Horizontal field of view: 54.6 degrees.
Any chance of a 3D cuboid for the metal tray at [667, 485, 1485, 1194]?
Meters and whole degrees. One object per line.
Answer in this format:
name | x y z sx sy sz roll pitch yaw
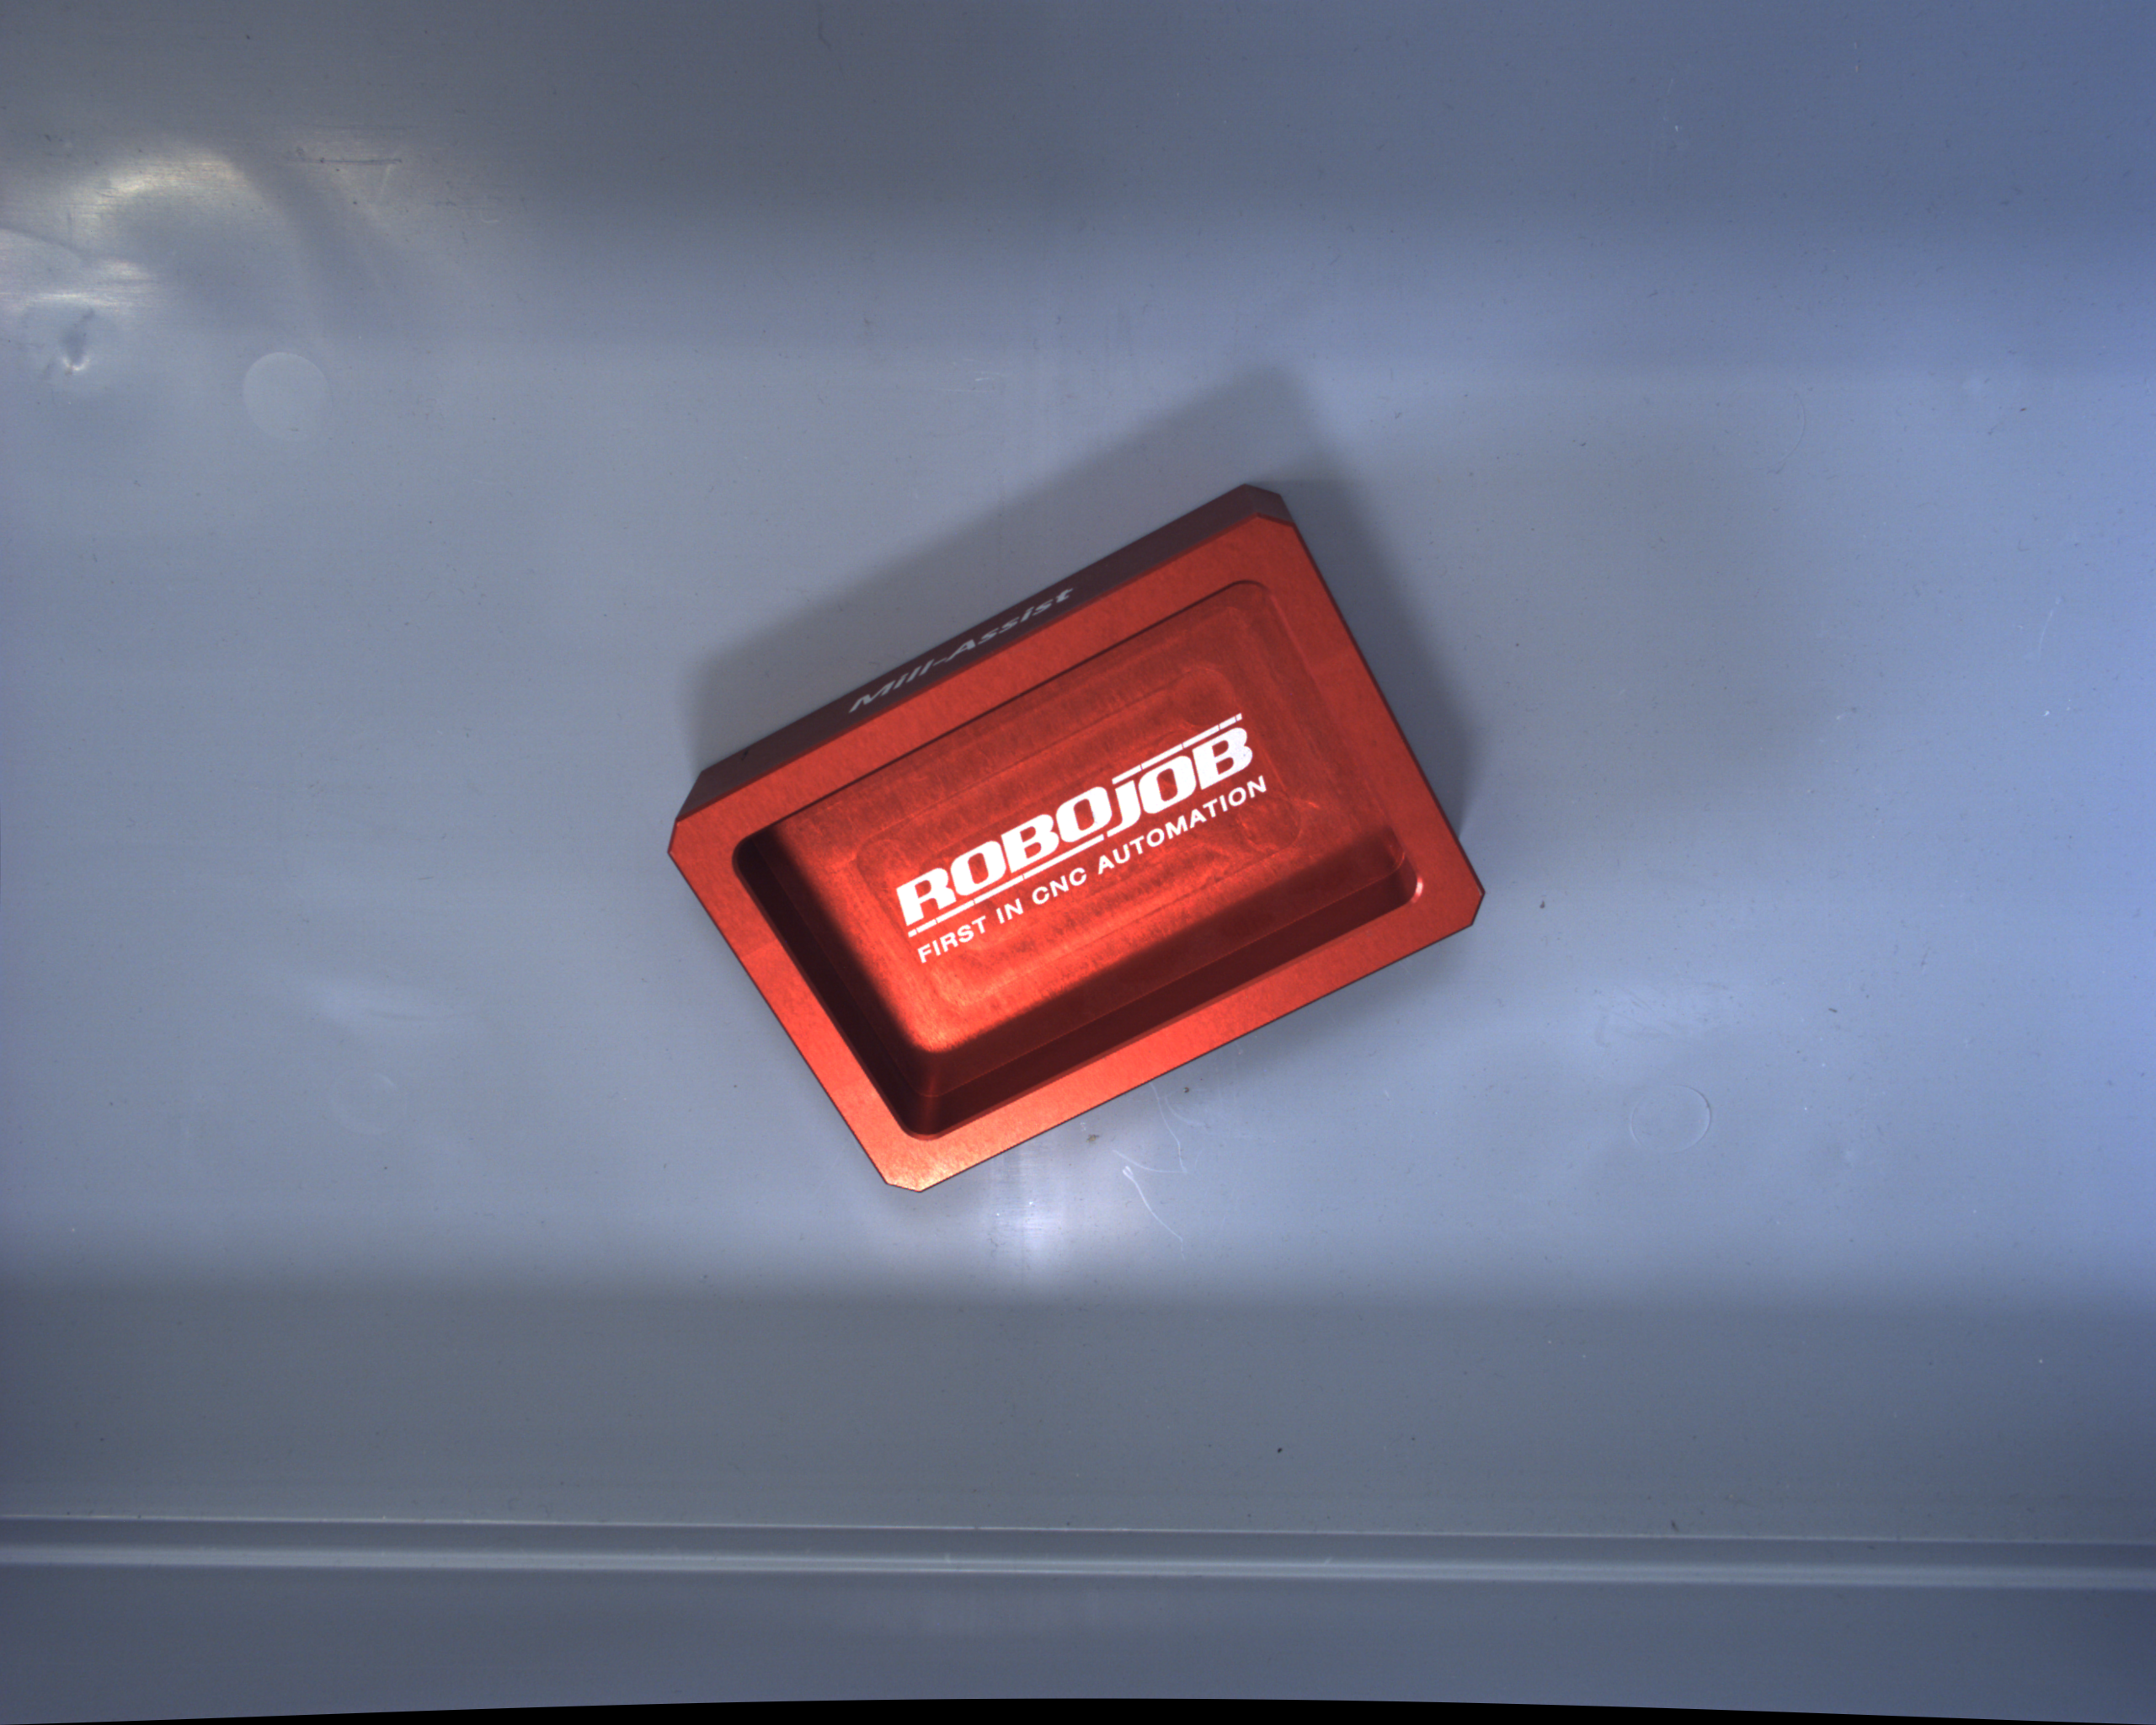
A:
metal tray | 0.000 -0.003 0.404 0.130 0.030 0.090 -27 108 9
